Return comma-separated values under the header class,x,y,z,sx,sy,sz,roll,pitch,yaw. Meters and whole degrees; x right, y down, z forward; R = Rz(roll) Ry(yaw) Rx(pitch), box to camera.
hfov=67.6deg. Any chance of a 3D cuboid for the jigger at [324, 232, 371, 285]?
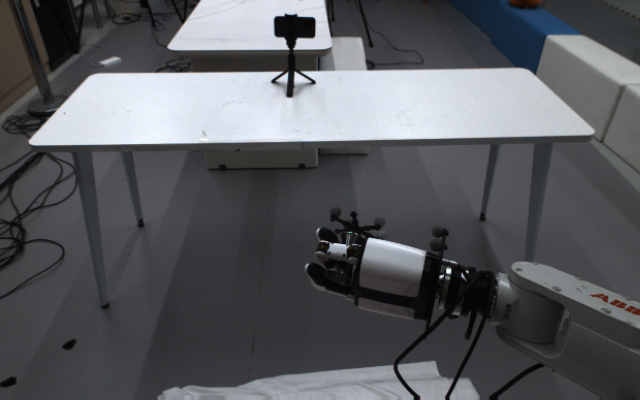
class,x,y,z,sx,sy,sz,roll,pitch,yaw
jigger,0.041,0.084,0.706,0.043,0.043,0.071,13,57,15
